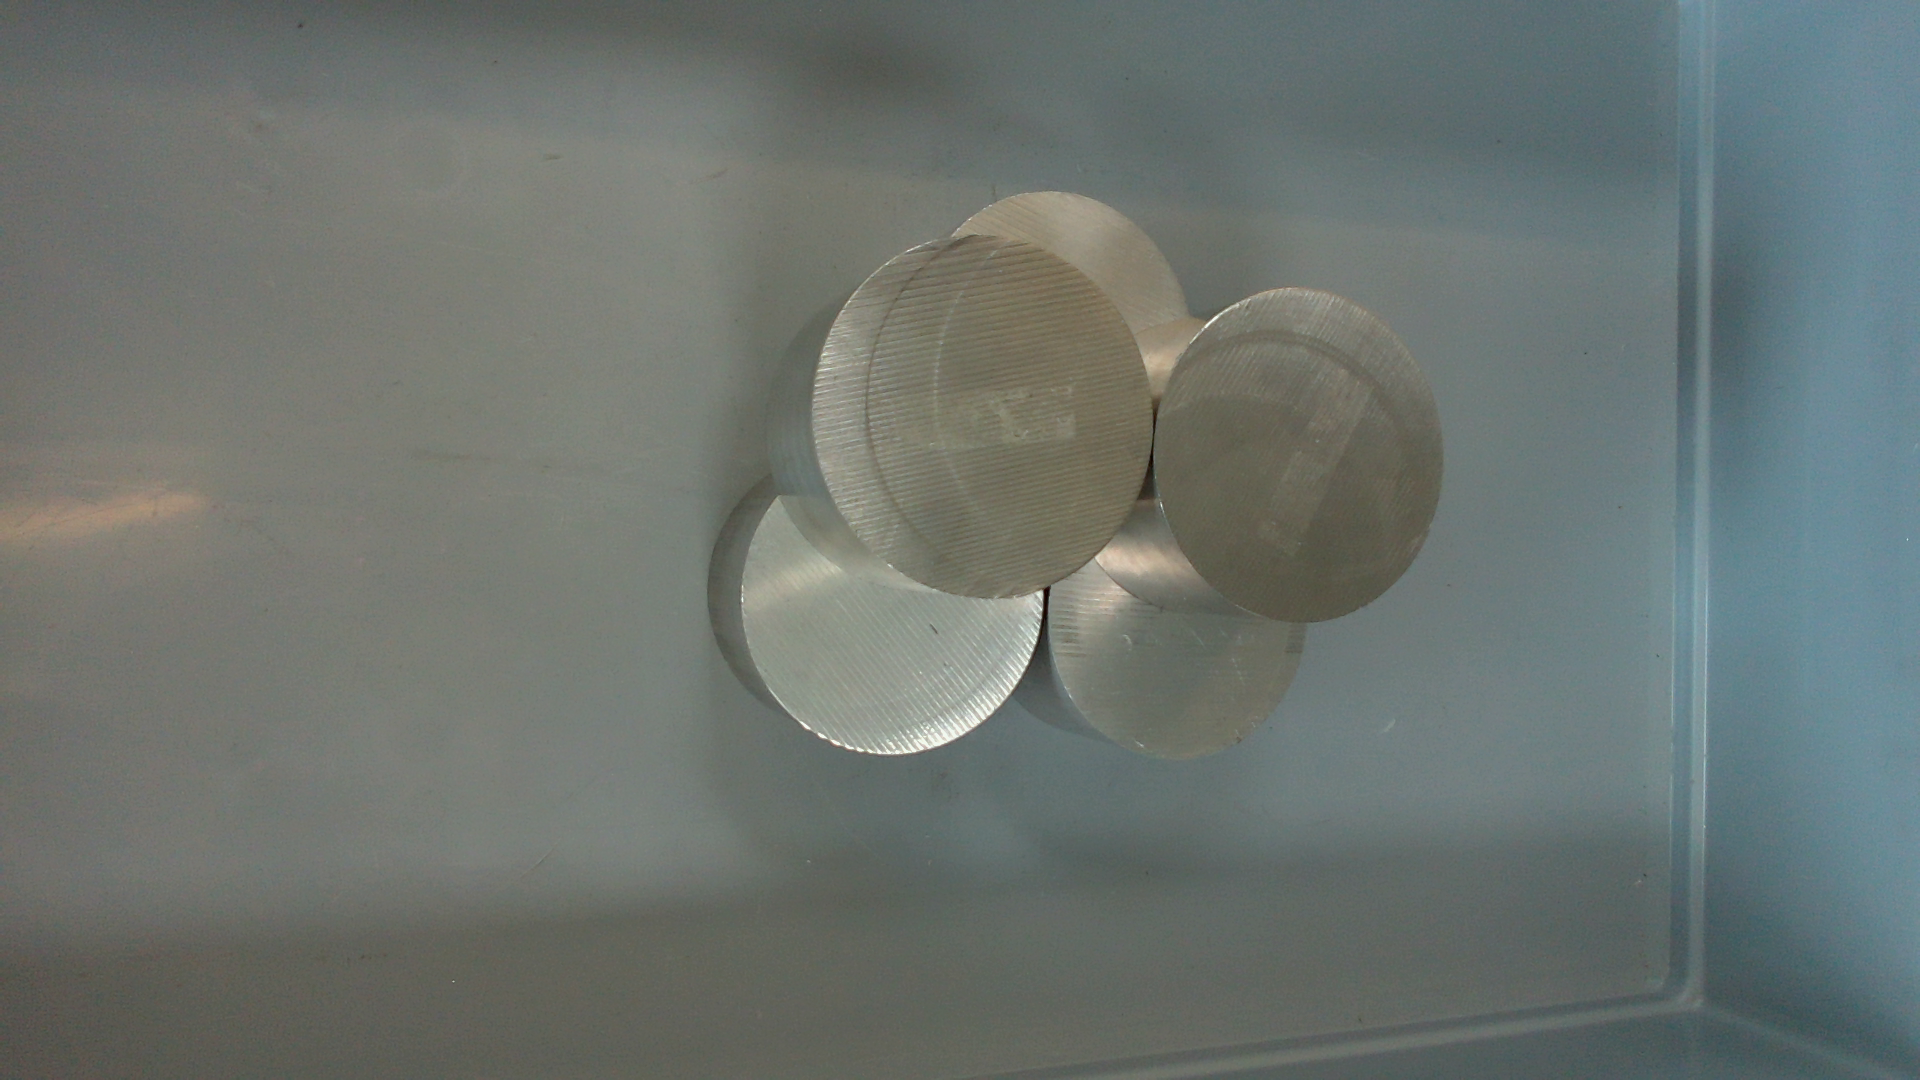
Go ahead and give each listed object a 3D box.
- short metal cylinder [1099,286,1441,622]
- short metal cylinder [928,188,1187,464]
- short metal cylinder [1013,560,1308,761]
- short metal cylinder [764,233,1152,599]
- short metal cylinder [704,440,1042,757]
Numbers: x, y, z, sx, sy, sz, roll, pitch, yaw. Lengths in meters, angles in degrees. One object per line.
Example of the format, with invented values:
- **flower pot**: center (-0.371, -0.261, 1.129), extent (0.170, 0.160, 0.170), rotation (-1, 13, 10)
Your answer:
- **short metal cylinder**: center (0.074, -0.021, 0.352), extent (0.080, 0.050, 0.080), rotation (0, 90, -20)
- **short metal cylinder**: center (0.017, -0.052, 0.385), extent (0.080, 0.050, 0.080), rotation (0, 90, -20)
- **short metal cylinder**: center (0.052, 0.020, 0.398), extent (0.080, 0.050, 0.080), rotation (0, 90, -20)
- **short metal cylinder**: center (-0.002, -0.027, 0.325), extent (0.080, 0.050, 0.080), rotation (0, 90, -20)
- **short metal cylinder**: center (-0.025, 0.014, 0.370), extent (0.080, 0.050, 0.080), rotation (0, 90, -20)
